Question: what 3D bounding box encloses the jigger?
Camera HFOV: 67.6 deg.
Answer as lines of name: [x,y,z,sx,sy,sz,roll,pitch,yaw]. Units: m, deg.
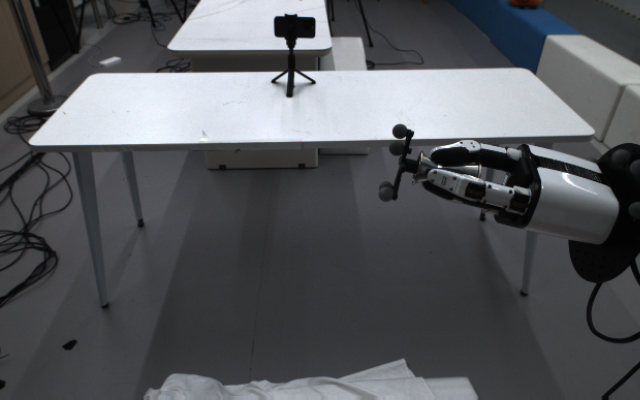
jigger: [0.147,-0.033,0.556,0.071,0.043,0.043,14,36,4]
